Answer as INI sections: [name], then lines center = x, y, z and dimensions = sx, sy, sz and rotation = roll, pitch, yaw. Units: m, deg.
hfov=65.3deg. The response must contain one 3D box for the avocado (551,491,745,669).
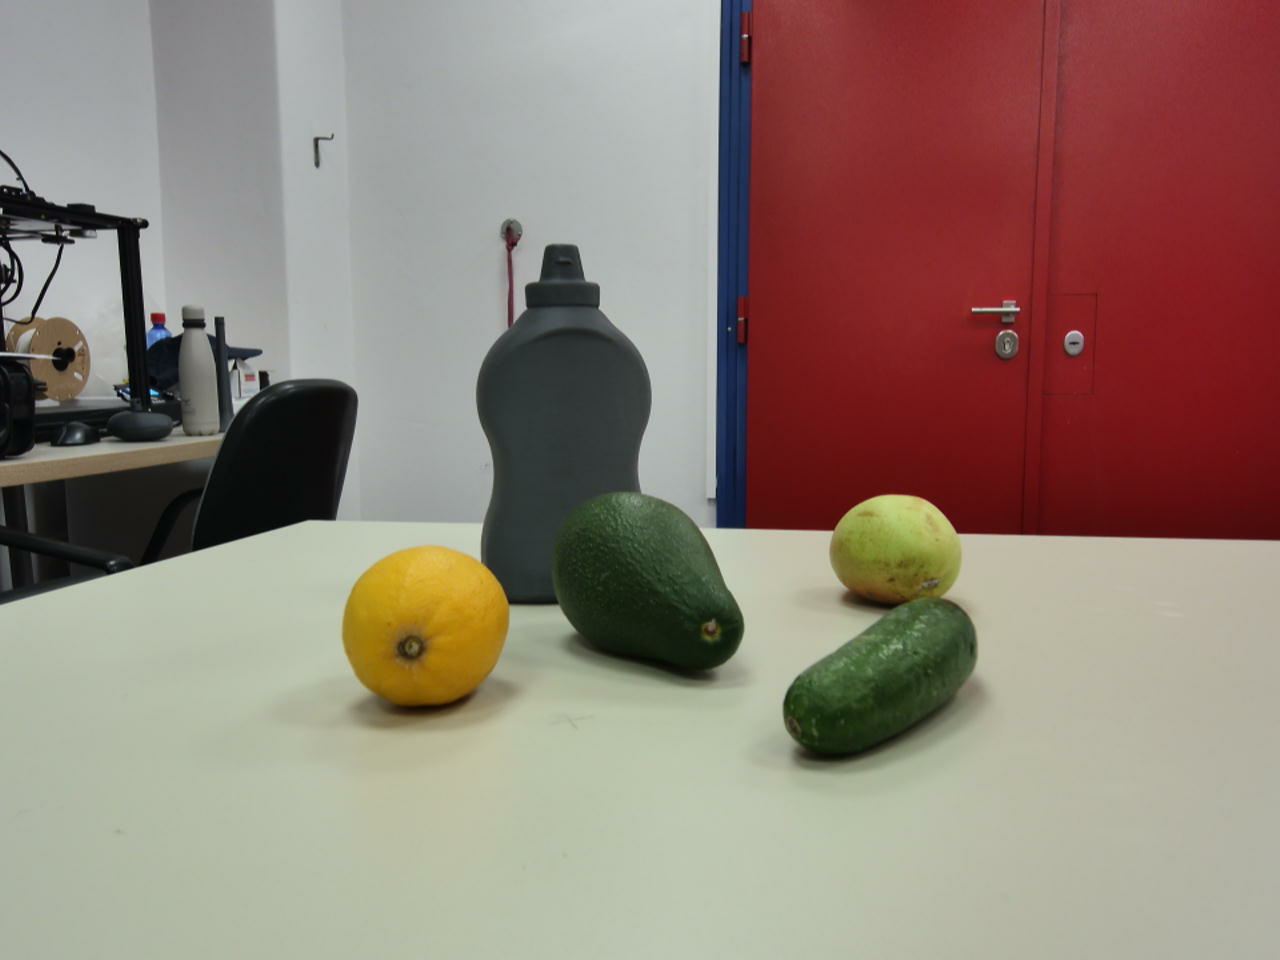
[avocado]
center = -0.001, 0.042, 0.434
dimensions = 0.072, 0.071, 0.109
rotation = -1, 4, -10
